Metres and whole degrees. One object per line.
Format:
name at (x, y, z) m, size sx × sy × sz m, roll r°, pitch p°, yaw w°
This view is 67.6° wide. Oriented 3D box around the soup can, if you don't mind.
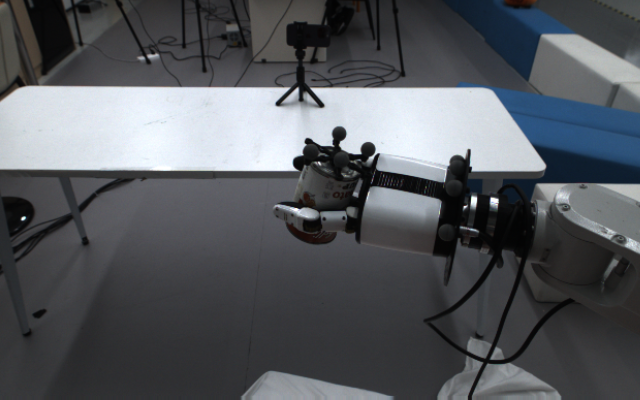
soup can at (0.005, -0.005, 0.583) m, size 0.067 × 0.101 × 0.067 m, roll 14°, pitch 35°, yaw -10°
